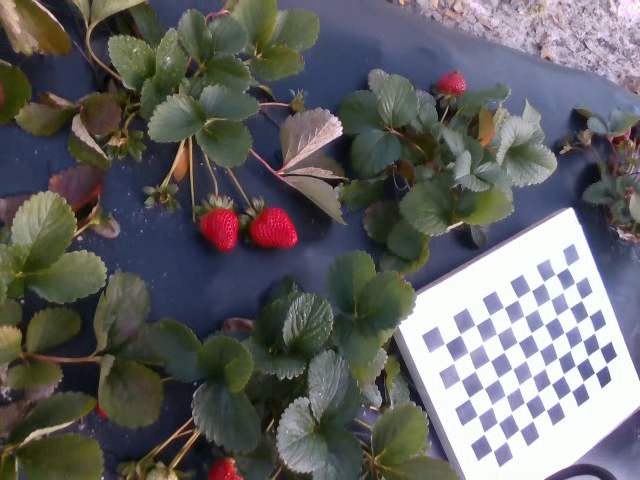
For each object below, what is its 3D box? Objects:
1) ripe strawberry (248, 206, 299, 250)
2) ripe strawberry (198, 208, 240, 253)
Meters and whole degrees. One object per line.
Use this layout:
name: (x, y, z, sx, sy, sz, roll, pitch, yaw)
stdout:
ripe strawberry: (-0.051, -0.013, 0.680, 0.064, 0.058, 0.051, 34, -24, 19)
ripe strawberry: (-0.111, -0.012, 0.660, 0.048, 0.056, 0.041, -10, -26, -24)
